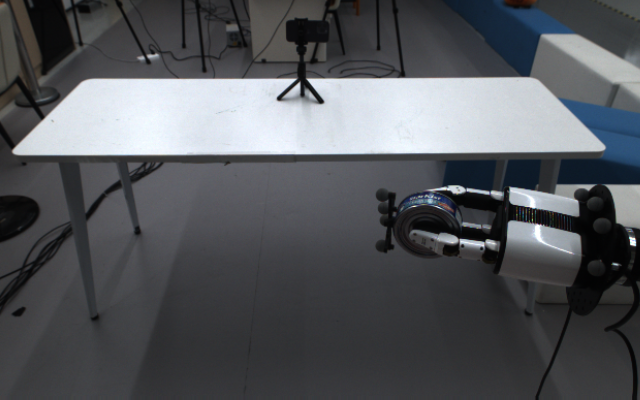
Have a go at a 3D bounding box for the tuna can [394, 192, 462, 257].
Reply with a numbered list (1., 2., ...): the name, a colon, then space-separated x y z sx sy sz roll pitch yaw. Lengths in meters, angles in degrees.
1. tuna can: 0.141 0.027 0.623 0.085 0.085 0.034 9 32 10
